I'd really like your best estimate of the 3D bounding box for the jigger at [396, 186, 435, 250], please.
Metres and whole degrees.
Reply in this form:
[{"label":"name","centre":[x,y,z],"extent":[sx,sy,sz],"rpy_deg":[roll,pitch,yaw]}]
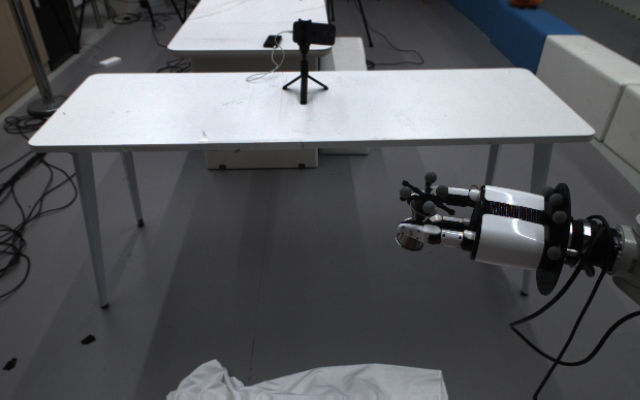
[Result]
[{"label":"jigger","centre":[0.143,0.036,0.722],"extent":[0.043,0.071,0.043],"rpy_deg":[10,36,-7]}]
